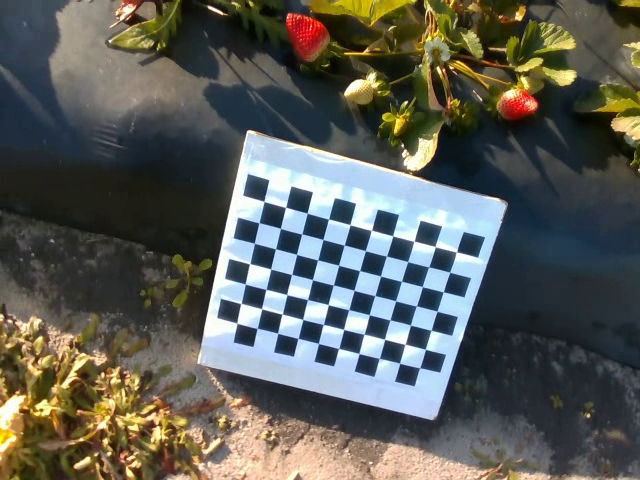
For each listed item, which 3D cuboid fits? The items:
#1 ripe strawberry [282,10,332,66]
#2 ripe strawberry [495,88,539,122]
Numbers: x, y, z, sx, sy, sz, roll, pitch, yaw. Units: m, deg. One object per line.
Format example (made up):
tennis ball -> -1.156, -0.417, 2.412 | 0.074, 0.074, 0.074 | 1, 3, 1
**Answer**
ripe strawberry -> -0.014, -0.189, 0.570 | 0.053, 0.044, 0.036 | 39, 13, -17
ripe strawberry -> 0.185, -0.126, 0.575 | 0.042, 0.037, 0.045 | -11, 17, -26
